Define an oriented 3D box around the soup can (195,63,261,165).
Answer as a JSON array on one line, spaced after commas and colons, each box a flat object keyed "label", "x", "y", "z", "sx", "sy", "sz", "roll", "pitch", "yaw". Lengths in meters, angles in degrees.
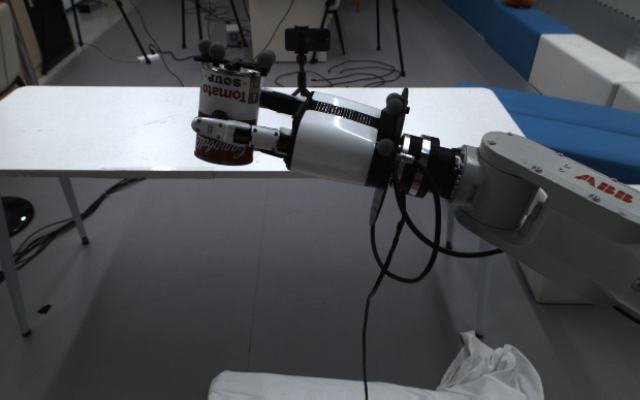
[{"label": "soup can", "x": -0.102, "y": -0.097, "z": 0.546, "sx": 0.067, "sy": 0.101, "sz": 0.067, "roll": 9, "pitch": 20, "yaw": -3}]
